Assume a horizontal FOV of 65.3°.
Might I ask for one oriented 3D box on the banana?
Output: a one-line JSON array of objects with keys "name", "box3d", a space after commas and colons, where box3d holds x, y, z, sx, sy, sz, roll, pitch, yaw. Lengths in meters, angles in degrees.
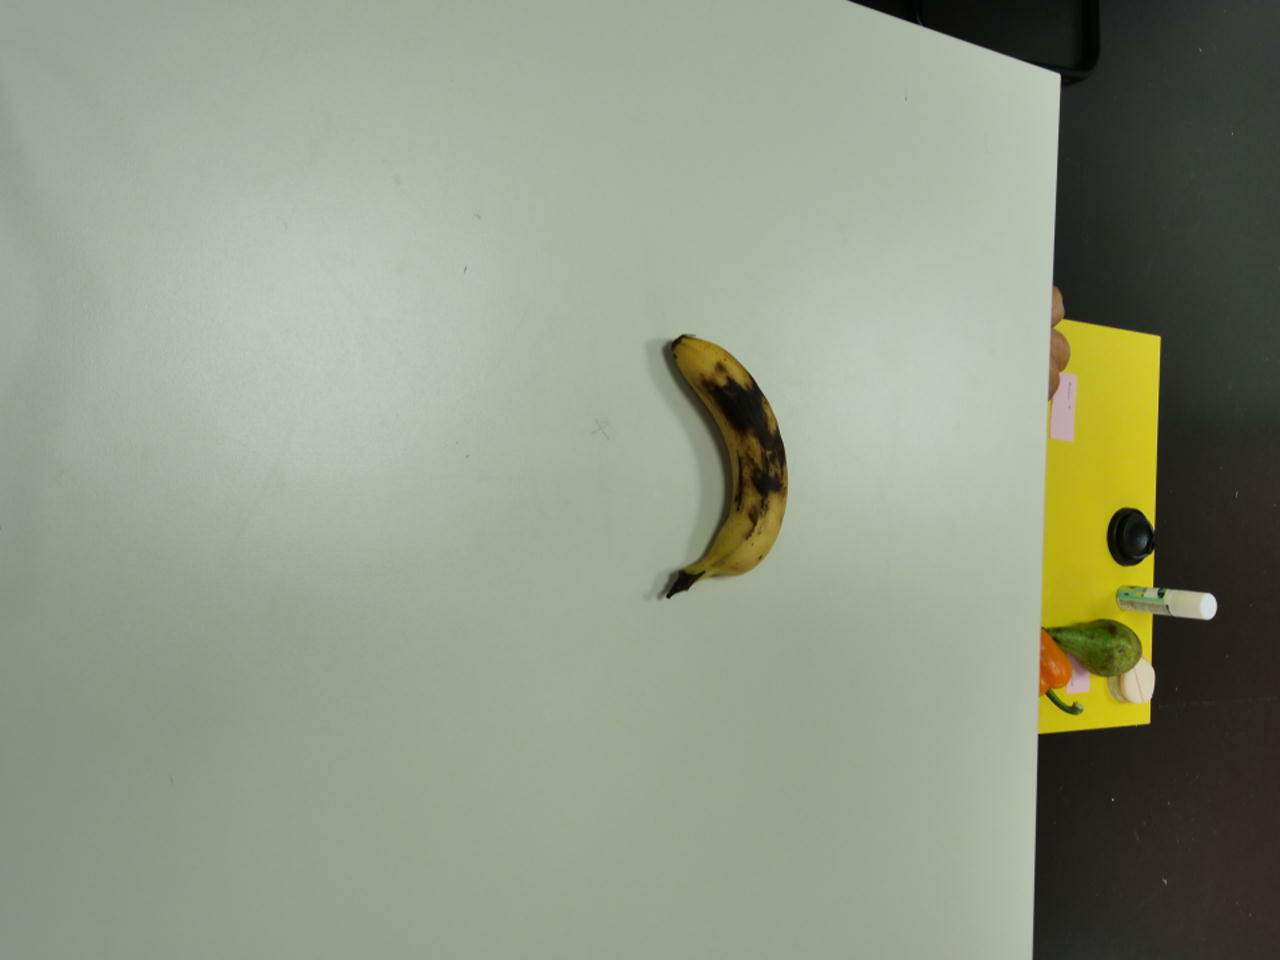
[{"name": "banana", "box3d": [0.064, -0.009, 0.722, 0.094, 0.039, 0.187, 3, 89, -28]}]
